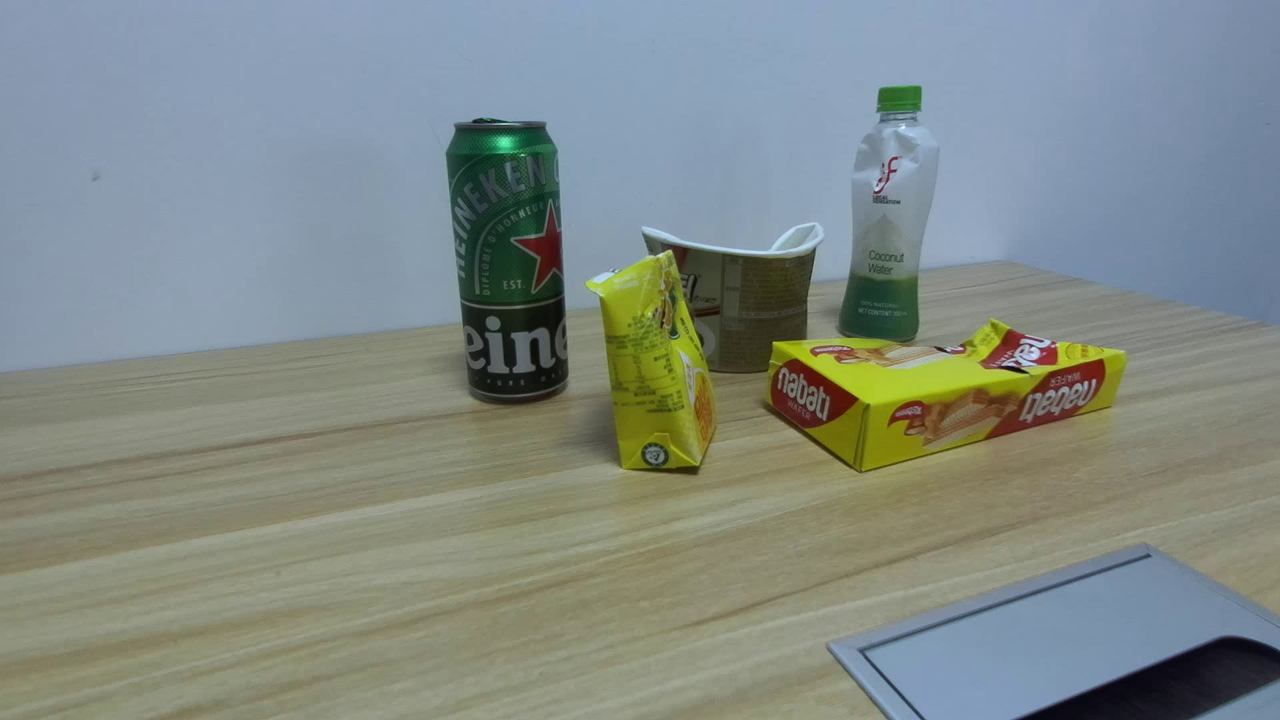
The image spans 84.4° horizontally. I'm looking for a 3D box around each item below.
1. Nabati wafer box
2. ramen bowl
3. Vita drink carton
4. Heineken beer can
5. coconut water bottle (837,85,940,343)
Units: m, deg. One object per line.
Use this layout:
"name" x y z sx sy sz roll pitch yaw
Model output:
"Nabati wafer box" 0.186 0.010 0.435 0.205 0.042 0.106 -8 23 -23
"ramen bowl" 0.067 -0.049 0.516 0.137 0.098 0.137 -3 20 1
"Vita drink carton" 0.007 -0.002 0.375 0.042 0.108 0.087 -9 14 18
"Heineken beer can" -0.081 -0.060 0.445 0.067 0.169 0.067 -1 19 1
"coconut water bottle" 0.191 -0.110 0.543 0.069 0.186 0.069 -1 18 1
